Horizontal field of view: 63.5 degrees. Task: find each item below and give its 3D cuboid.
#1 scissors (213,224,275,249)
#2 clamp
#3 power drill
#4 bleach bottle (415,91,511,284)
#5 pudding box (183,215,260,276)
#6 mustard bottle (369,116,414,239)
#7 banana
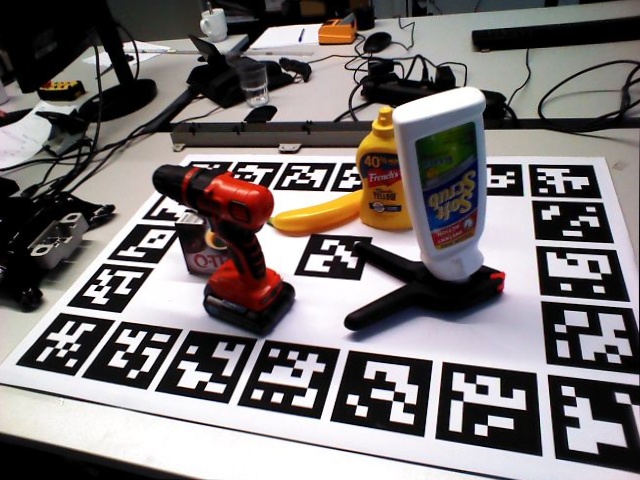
[{"bbox_3d":[-0.156,-0.045,0.749,0.203,0.016,0.087,26,54,32],"label":"scissors"},{"bbox_3d":[0.157,0.050,0.676,0.204,0.037,0.164,0,40,12],"label":"clamp"},{"bbox_3d":[-0.119,0.004,0.653,0.185,0.187,0.057,11,34,30],"label":"power drill"},{"bbox_3d":[0.180,-0.040,0.614,0.103,0.251,0.067,-13,32,7],"label":"bleach bottle"},{"bbox_3d":[-0.141,0.010,0.779,0.114,0.090,0.038,7,33,21],"label":"pudding box"},{"bbox_3d":[0.121,-0.094,0.779,0.097,0.192,0.058,15,43,27],"label":"mustard bottle"},{"bbox_3d":[0.031,-0.057,0.862,0.197,0.039,0.074,-21,21,-13],"label":"banana"}]
